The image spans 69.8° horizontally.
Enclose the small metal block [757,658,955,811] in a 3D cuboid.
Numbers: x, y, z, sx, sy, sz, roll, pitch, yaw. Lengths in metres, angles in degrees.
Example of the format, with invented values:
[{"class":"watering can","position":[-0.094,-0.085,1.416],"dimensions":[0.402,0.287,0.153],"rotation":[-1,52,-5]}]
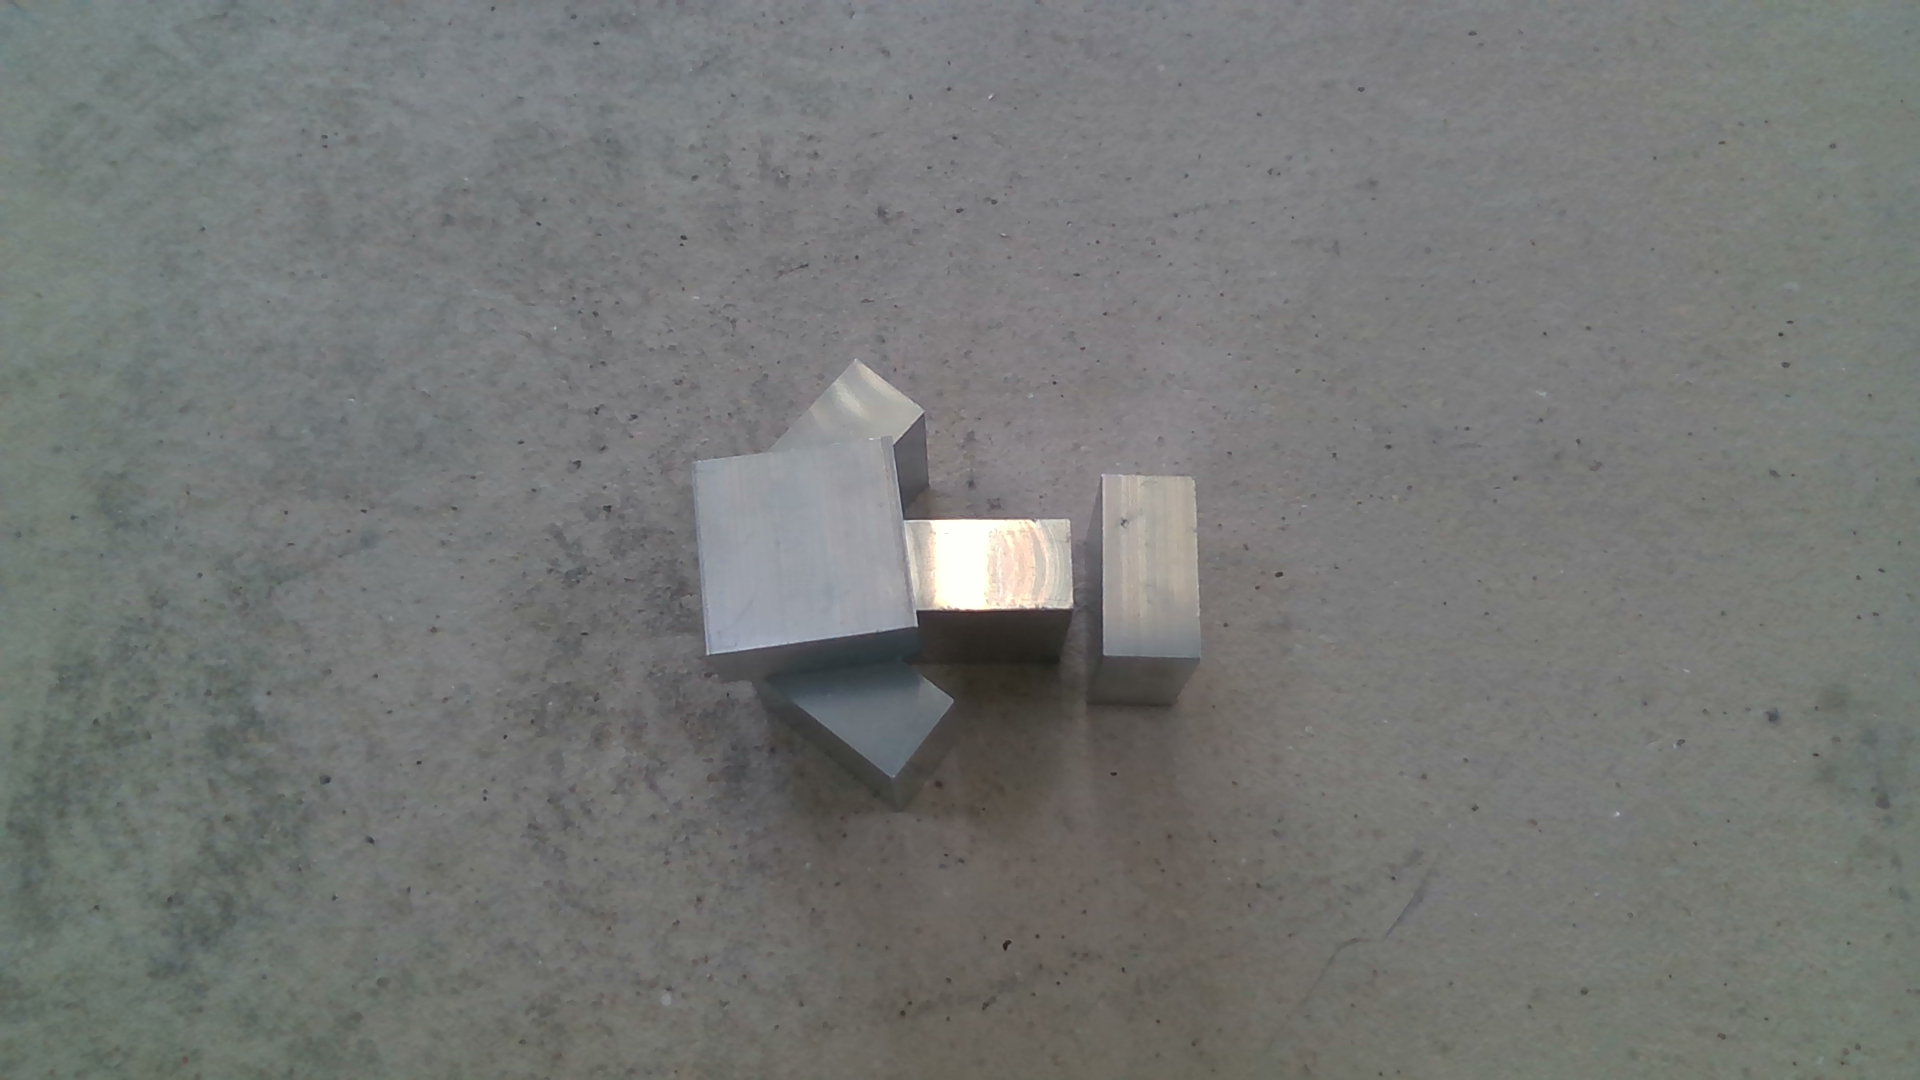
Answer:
[{"class":"small metal block","position":[-0.029,0.044,0.367],"dimensions":[0.050,0.050,0.025],"rotation":[35,74,12]}]

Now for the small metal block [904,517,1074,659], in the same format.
[{"class":"small metal block","position":[0.004,0.014,0.378],"dimensions":[0.050,0.050,0.025],"rotation":[-1,71,-1]}]

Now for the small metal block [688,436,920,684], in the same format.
[{"class":"small metal block","position":[-0.038,0.005,0.341],"dimensions":[0.050,0.025,0.050],"rotation":[-8,70,-3]}]

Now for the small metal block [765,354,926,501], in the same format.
[{"class":"small metal block","position":[-0.036,-0.017,0.388],"dimensions":[0.025,0.050,0.050],"rotation":[38,76,12]}]

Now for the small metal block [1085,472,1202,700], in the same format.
[{"class":"small metal block","position":[0.049,0.014,0.377],"dimensions":[0.025,0.050,0.050],"rotation":[2,71,0]}]
